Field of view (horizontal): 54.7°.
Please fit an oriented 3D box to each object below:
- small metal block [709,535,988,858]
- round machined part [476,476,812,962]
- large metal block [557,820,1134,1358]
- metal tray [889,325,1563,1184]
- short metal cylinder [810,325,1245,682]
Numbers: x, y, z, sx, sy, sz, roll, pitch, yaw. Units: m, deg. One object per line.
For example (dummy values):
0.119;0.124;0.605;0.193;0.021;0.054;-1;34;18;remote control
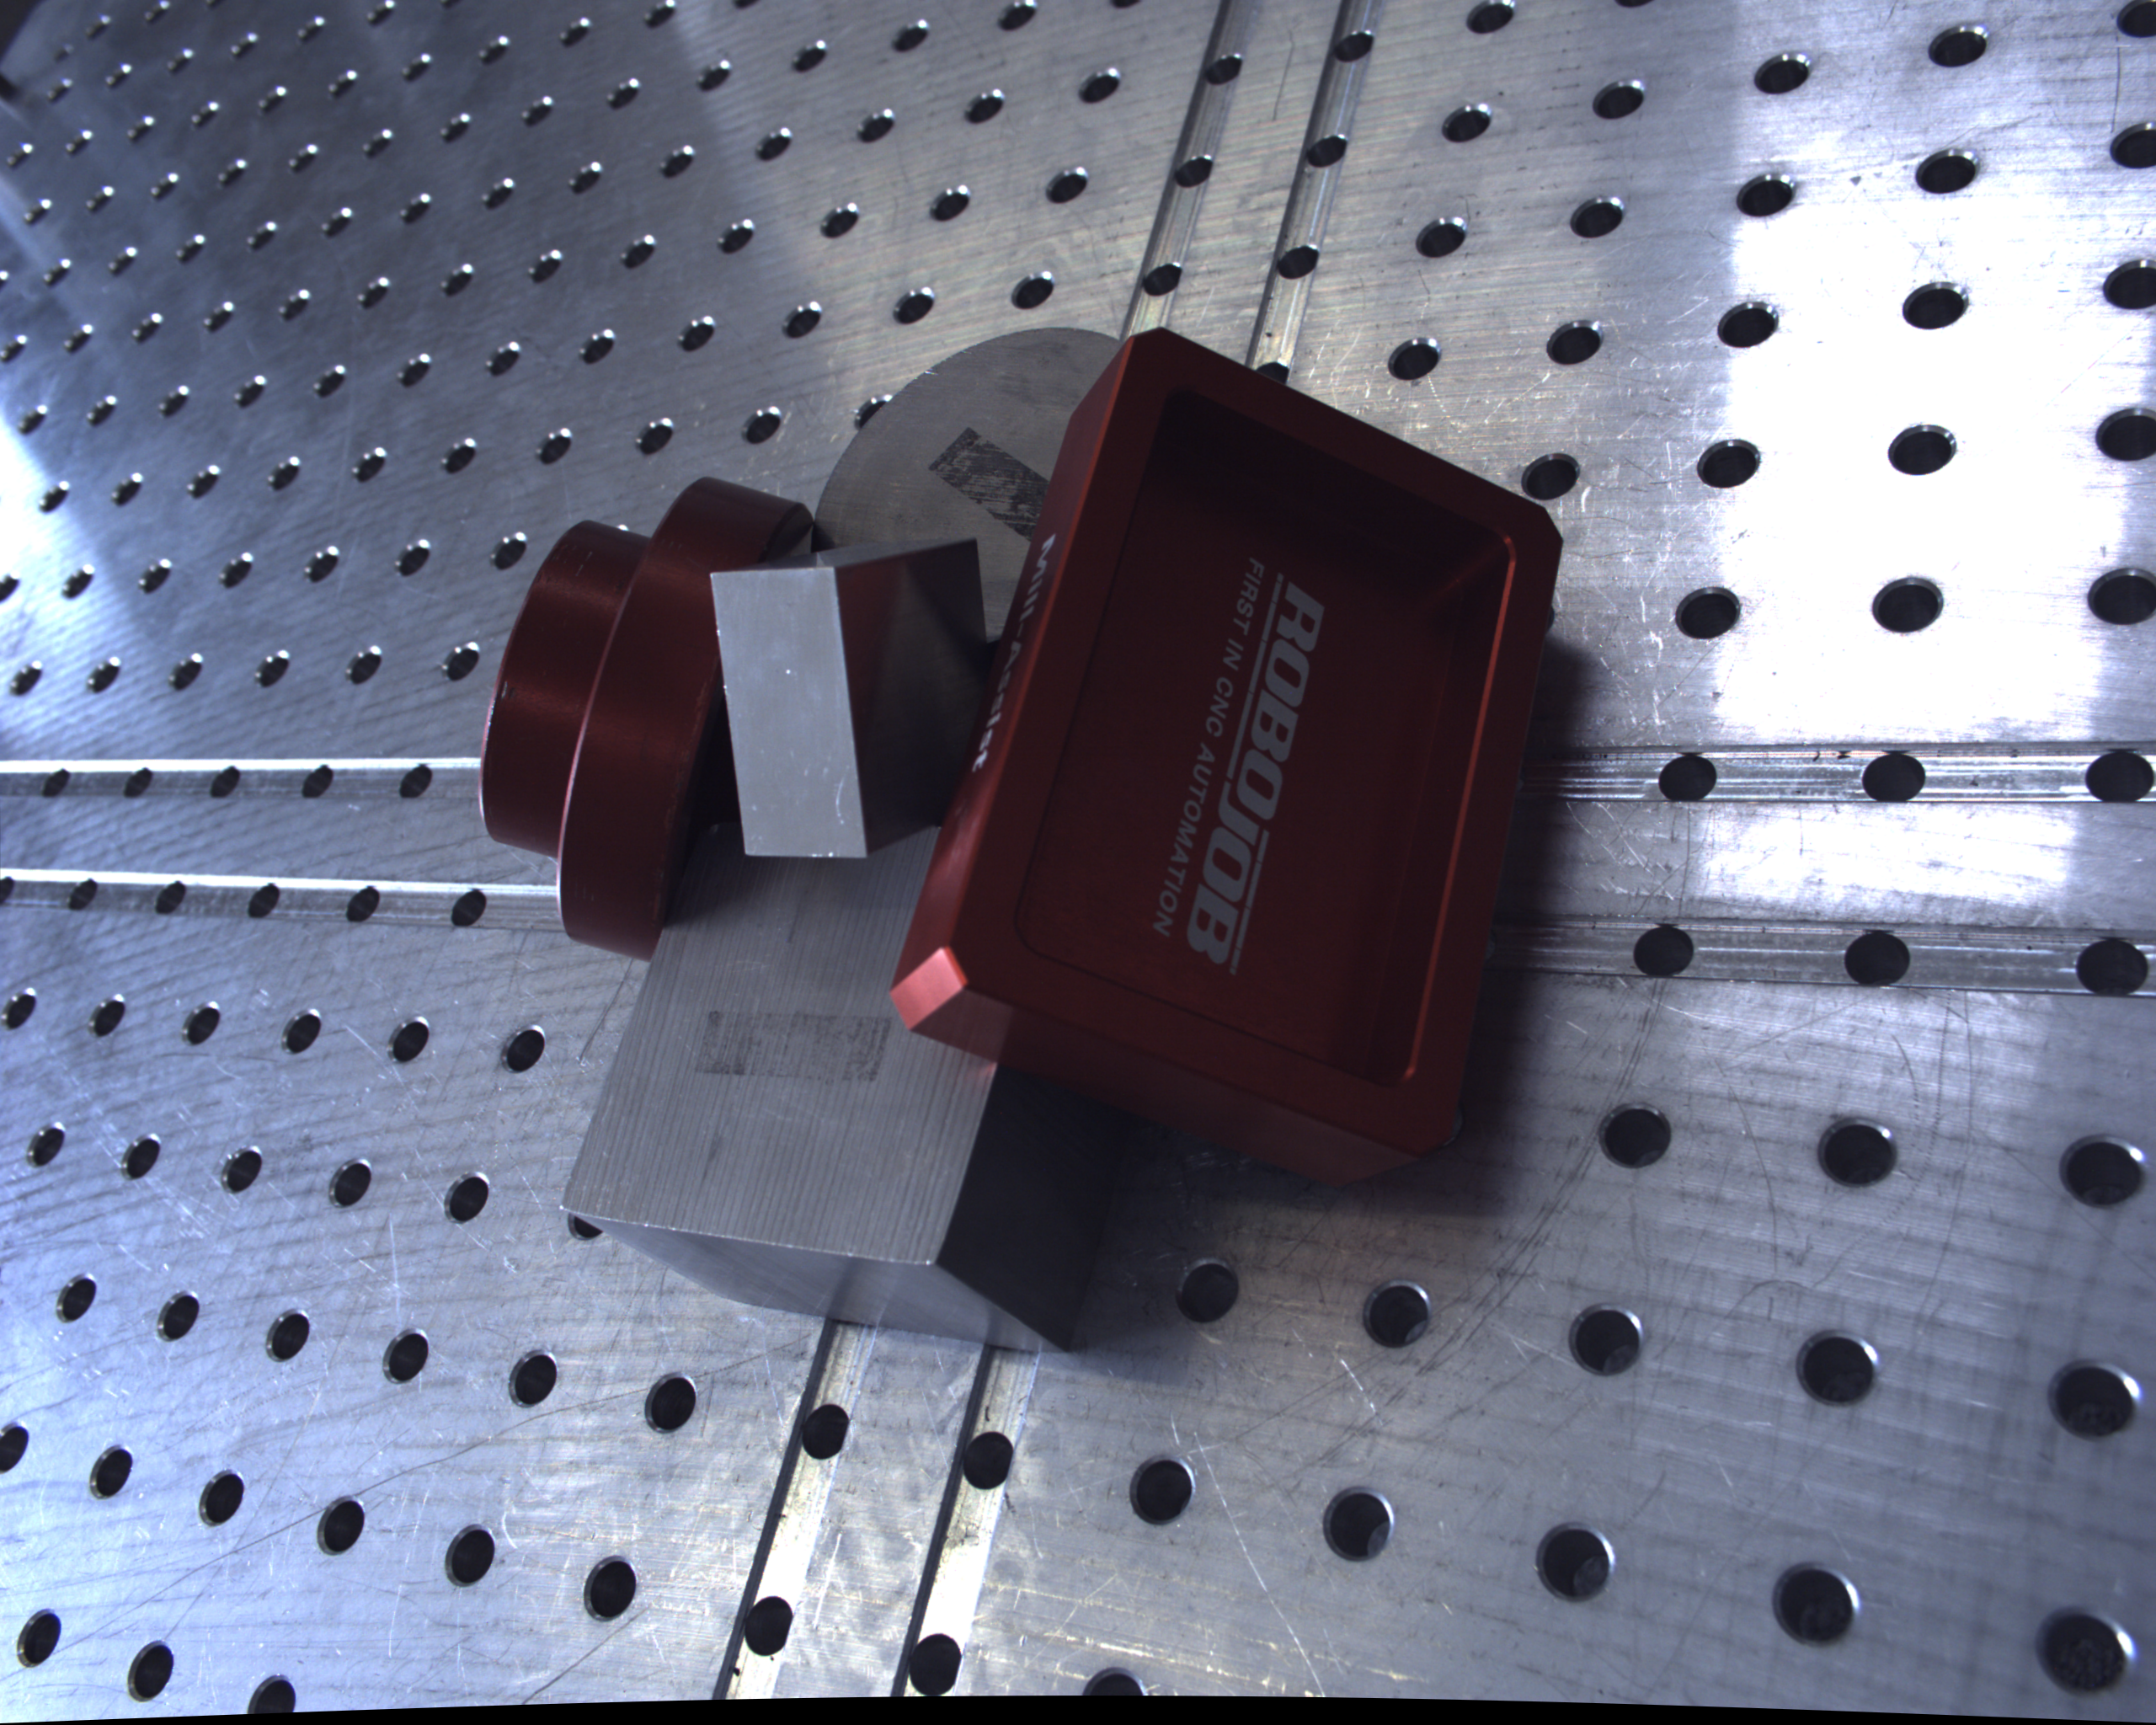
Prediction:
-0.039;-0.031;0.377;0.025;0.050;0.050;1;105;26;small metal block
-0.089;-0.031;0.422;0.042;0.098;0.098;16;66;-1;round machined part
-0.037;0.040;0.387;0.080;0.050;0.080;2;63;29;large metal block
0.030;-0.020;0.365;0.030;0.091;0.130;139;150;-62;metal tray
-0.008;-0.064;0.435;0.080;0.050;0.080;-13;56;21;short metal cylinder
